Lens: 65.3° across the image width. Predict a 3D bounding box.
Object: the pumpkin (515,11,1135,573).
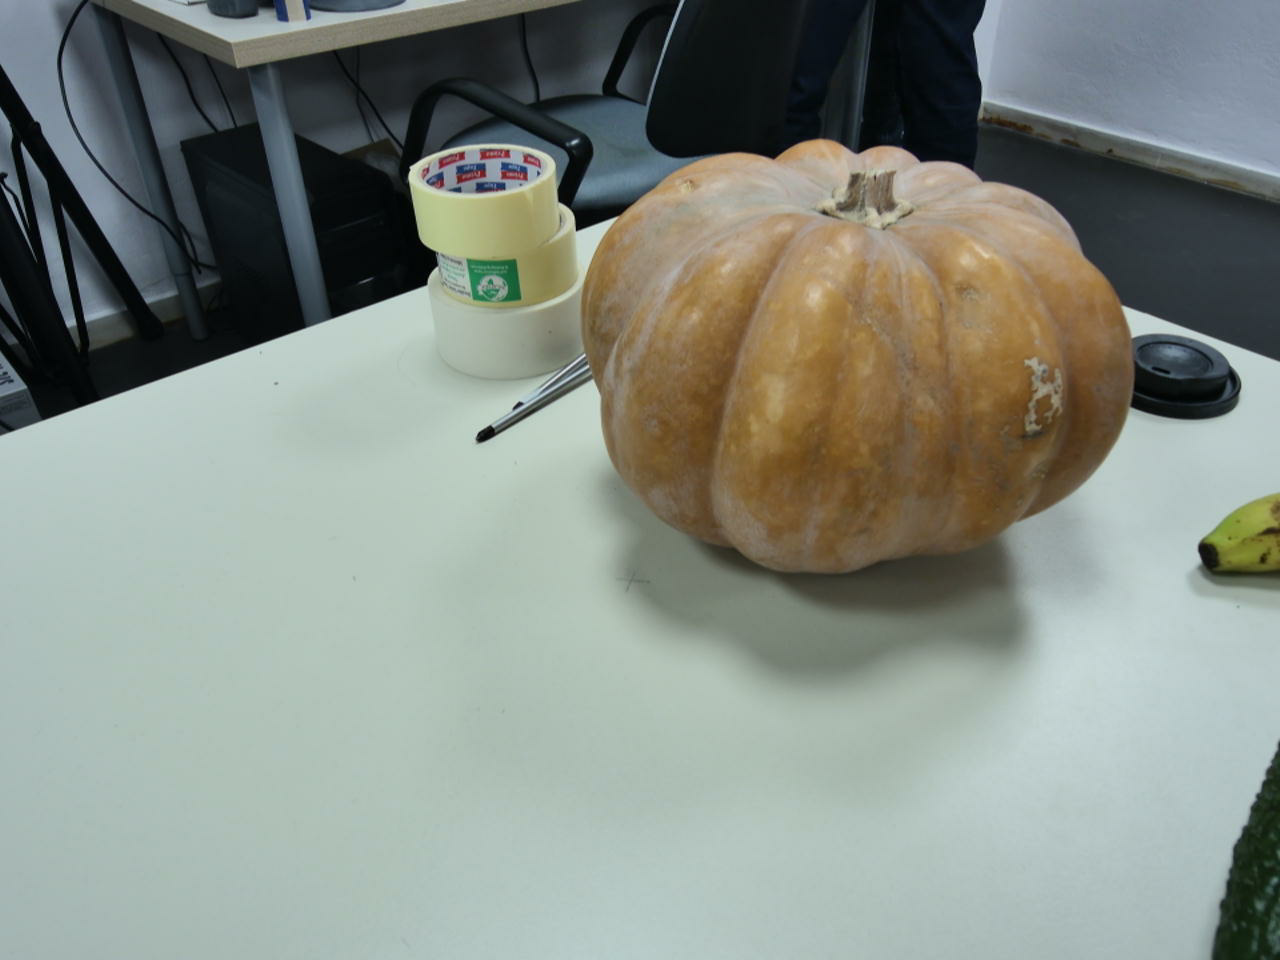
[{"bbox_3d":[0.100,-0.069,0.510,0.277,0.181,0.277,0,36,0],"label":"pumpkin"}]
